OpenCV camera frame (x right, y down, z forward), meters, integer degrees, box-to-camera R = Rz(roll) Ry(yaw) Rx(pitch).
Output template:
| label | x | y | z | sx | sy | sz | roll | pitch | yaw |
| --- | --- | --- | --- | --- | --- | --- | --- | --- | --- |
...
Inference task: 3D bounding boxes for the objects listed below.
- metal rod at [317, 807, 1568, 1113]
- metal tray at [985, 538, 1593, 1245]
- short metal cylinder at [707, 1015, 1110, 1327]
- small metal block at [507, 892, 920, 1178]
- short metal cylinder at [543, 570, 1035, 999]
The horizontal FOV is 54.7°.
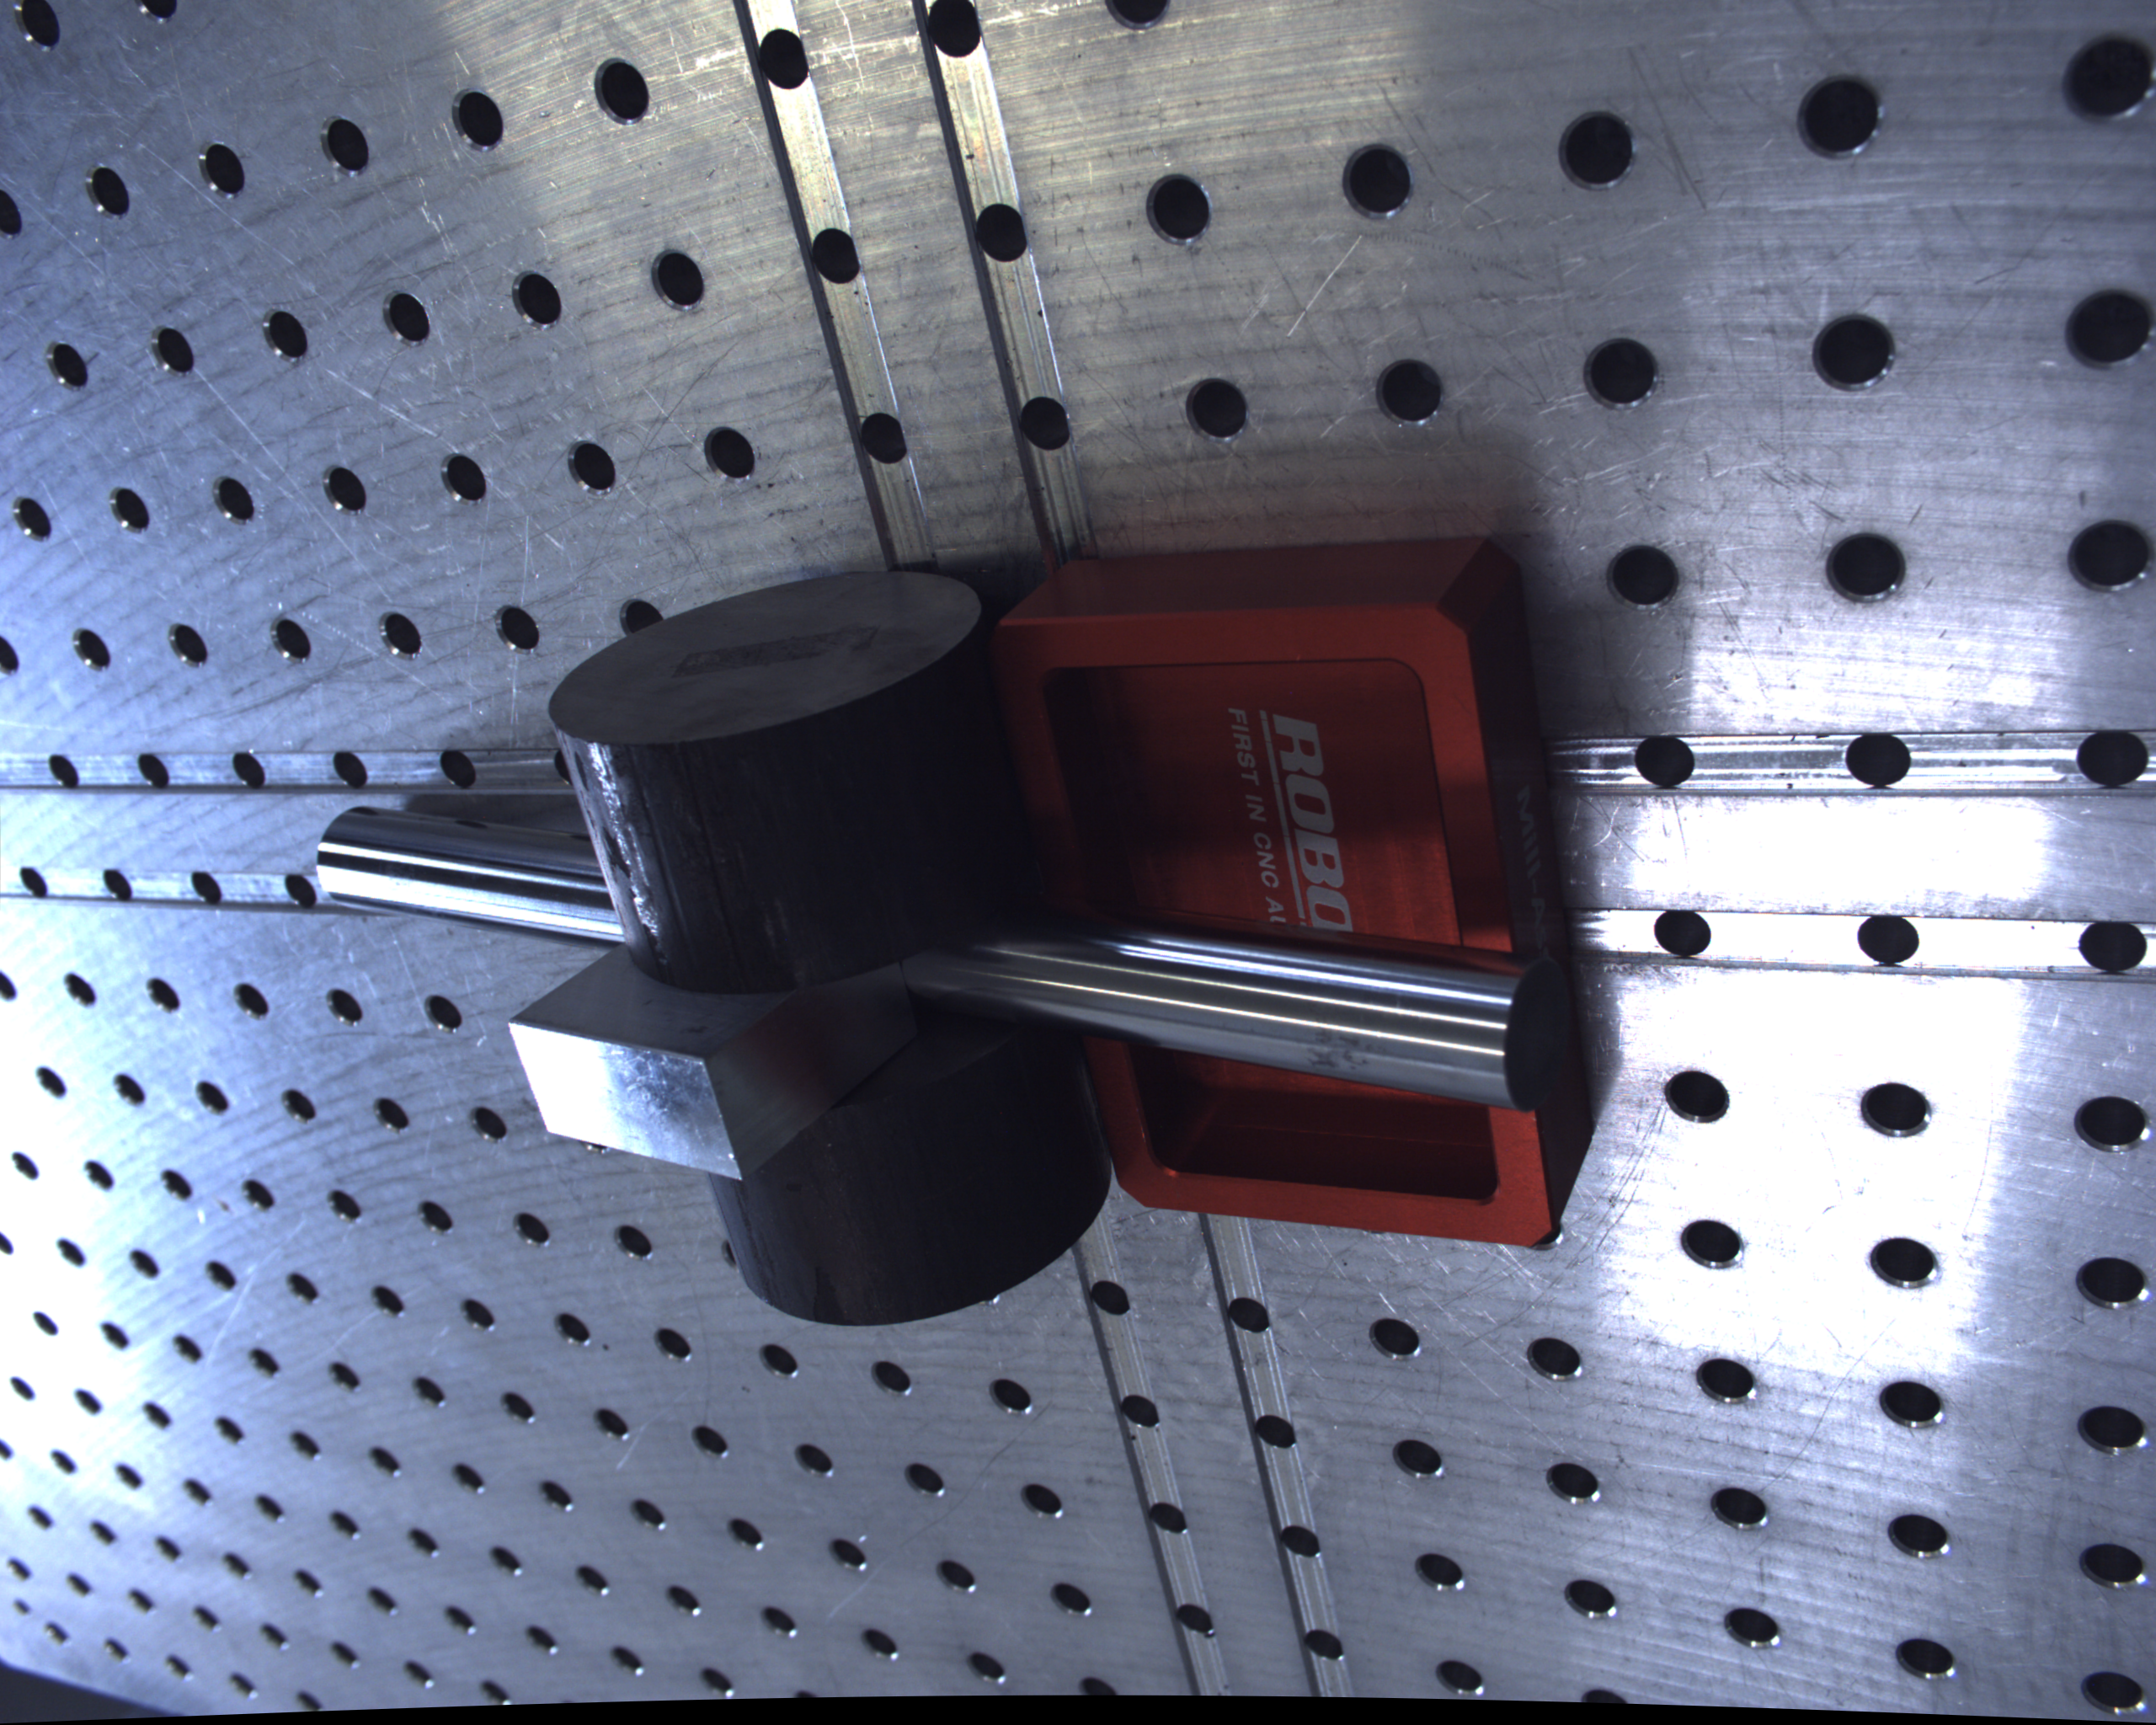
| label | x | y | z | sx | sy | sz | roll | pitch | yaw |
| --- | --- | --- | --- | --- | --- | --- | --- | --- | --- |
| metal rod | -0.050 | 0.013 | 0.416 | 0.300 | 0.025 | 0.025 | 7 | 122 | 35 |
| metal tray | 0.042 | 0.007 | 0.390 | 0.090 | 0.030 | 0.129 | 1 | 119 | 27 |
| short metal cylinder | -0.038 | 0.049 | 0.425 | 0.080 | 0.080 | 0.050 | 2 | 119 | 27 |
| small metal block | -0.067 | 0.030 | 0.387 | 0.050 | 0.050 | 0.025 | 6 | 121 | 35 |
| short metal cylinder | -0.053 | -0.017 | 0.391 | 0.080 | 0.080 | 0.050 | 1 | 119 | 28 |
